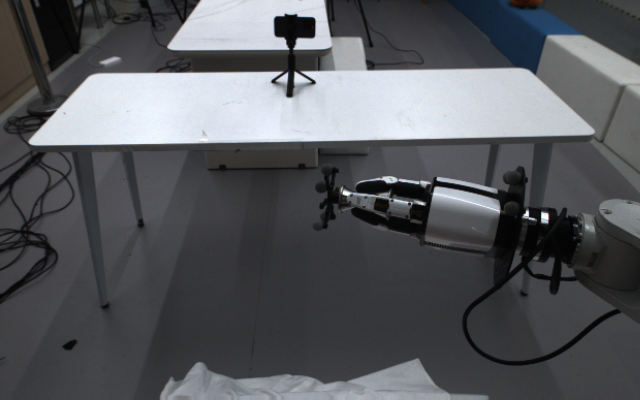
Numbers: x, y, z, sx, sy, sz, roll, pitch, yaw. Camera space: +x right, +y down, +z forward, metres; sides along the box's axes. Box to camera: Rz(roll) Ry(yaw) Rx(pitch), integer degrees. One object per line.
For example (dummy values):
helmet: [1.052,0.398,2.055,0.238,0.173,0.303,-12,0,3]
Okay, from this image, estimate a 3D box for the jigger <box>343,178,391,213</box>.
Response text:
jigger: [0.069,-0.001,0.664,0.071,0.043,0.043,7,35,15]
